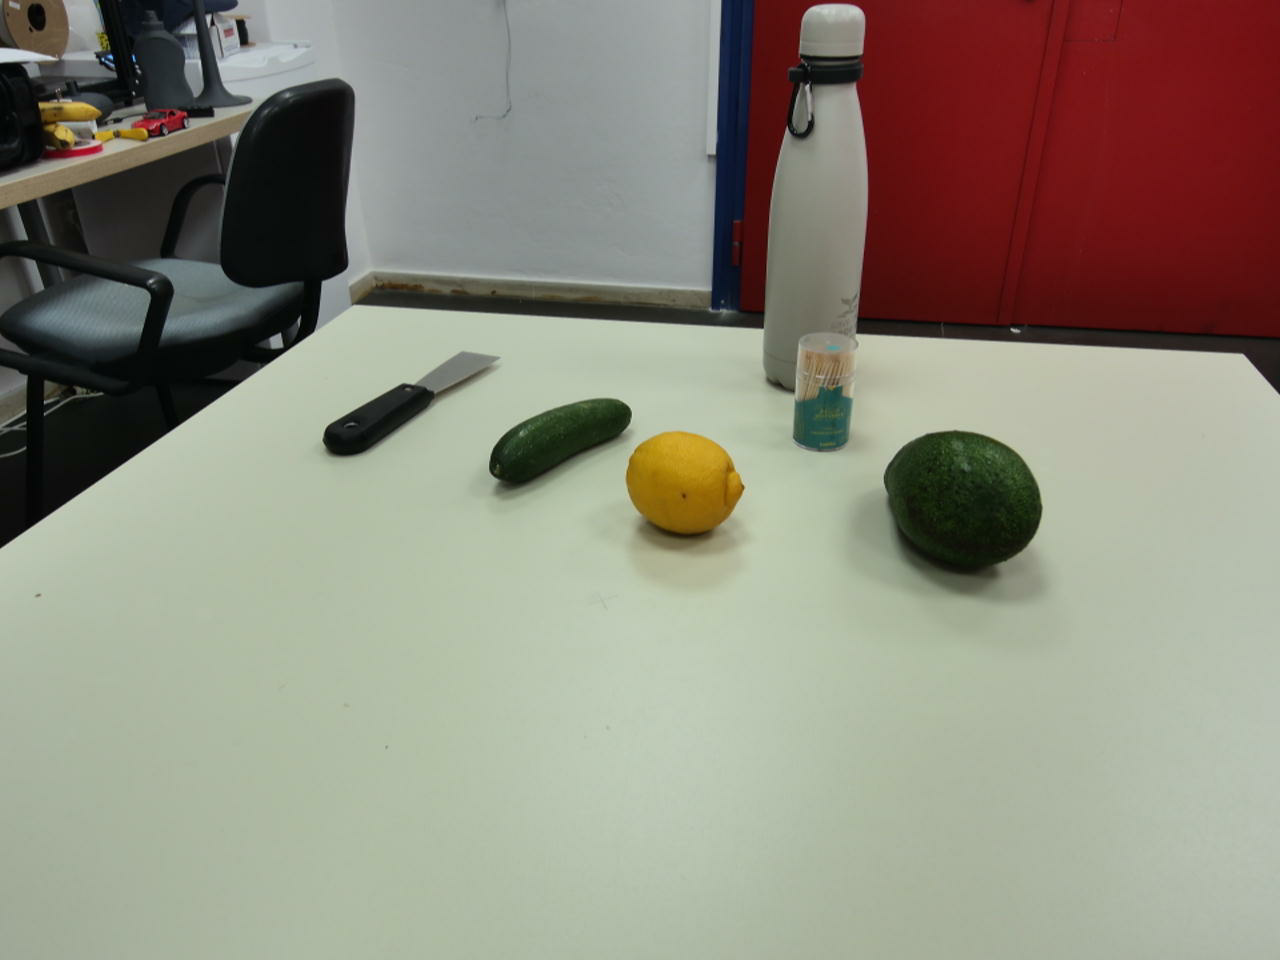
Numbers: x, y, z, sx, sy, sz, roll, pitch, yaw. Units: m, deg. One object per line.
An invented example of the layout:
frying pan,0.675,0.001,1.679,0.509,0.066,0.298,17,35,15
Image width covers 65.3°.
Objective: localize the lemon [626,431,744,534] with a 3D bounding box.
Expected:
lemon,0.025,0.002,0.594,0.060,0.059,0.067,-17,31,-32
